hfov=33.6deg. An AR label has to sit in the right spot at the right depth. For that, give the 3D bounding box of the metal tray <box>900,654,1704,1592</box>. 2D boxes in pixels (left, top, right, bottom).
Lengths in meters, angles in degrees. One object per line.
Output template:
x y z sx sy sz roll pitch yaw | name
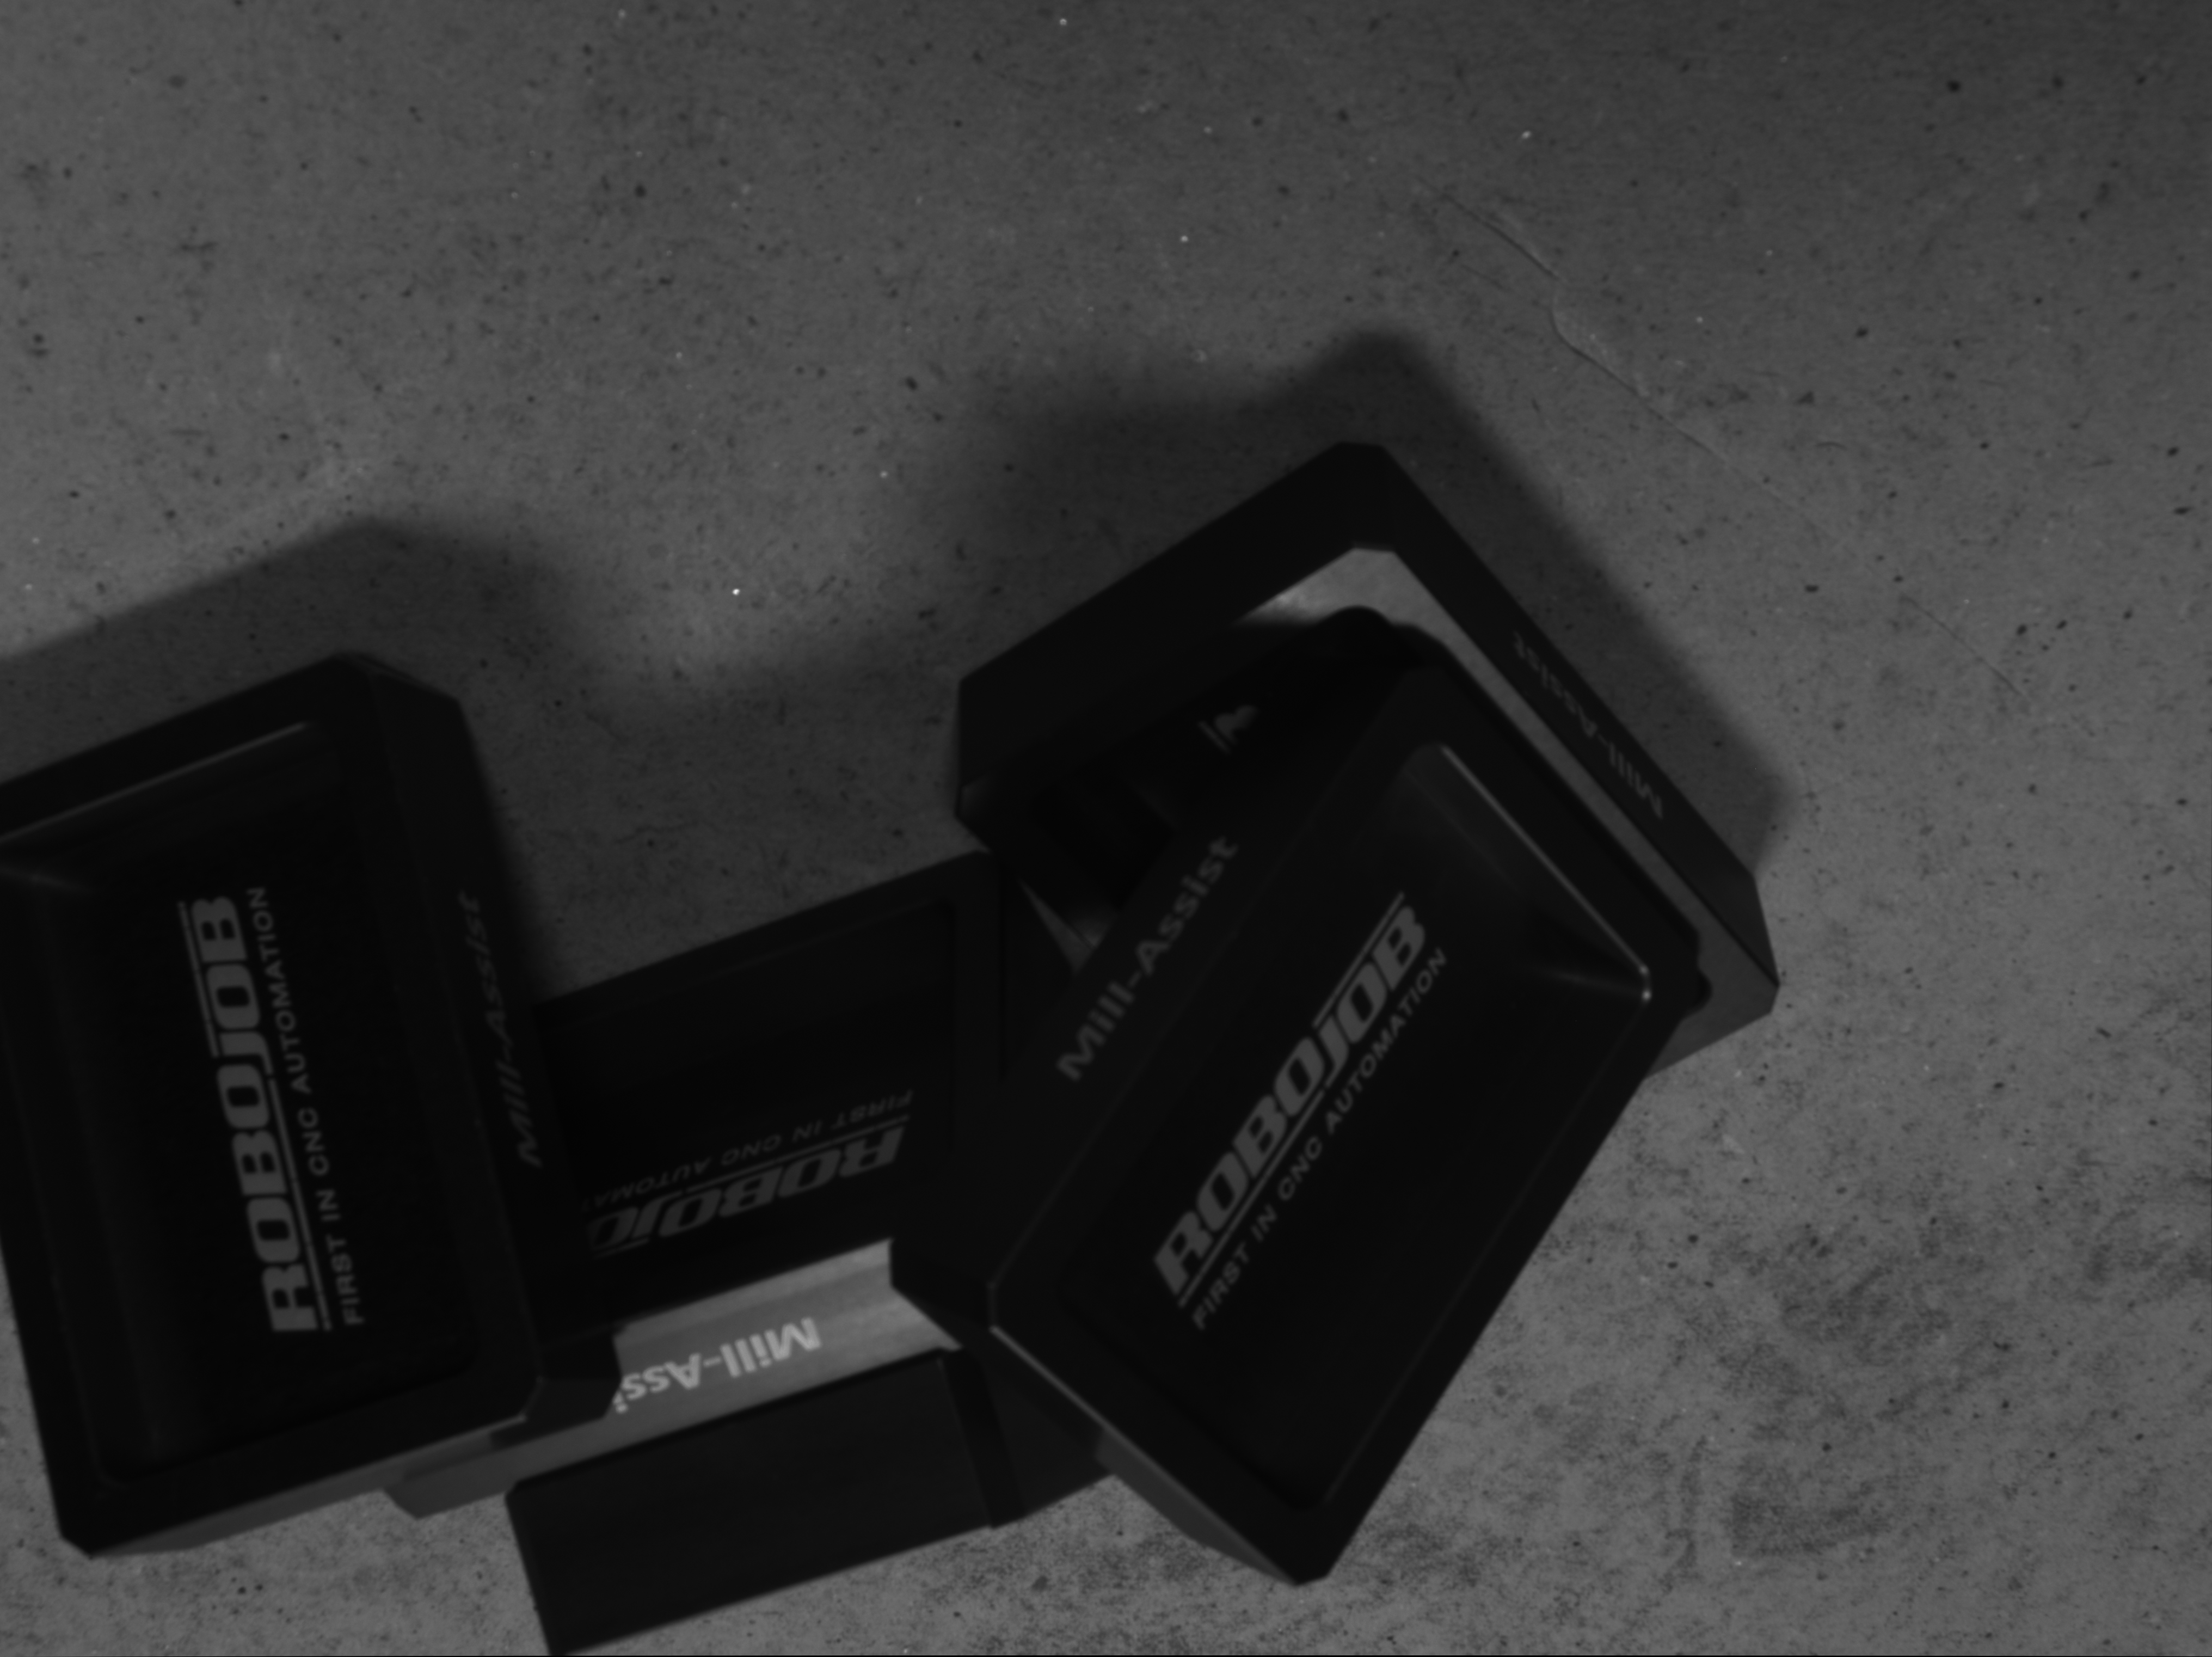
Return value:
0.036 0.048 0.607 0.090 0.030 0.130 45 71 -32 | metal tray

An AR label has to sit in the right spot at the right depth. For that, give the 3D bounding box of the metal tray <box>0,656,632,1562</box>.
-0.139 0.047 0.612 0.090 0.130 0.030 -19 167 14 | metal tray

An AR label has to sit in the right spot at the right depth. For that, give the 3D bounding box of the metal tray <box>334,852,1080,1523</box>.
-0.069 0.062 0.646 0.130 0.090 0.030 -20 128 14 | metal tray

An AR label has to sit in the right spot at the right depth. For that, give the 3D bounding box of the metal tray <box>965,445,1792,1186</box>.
0.048 0.004 0.640 0.090 0.030 0.130 -31 124 22 | metal tray

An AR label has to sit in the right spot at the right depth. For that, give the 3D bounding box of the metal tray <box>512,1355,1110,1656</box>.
-0.041 0.118 0.679 0.090 0.030 0.130 -19 173 14 | metal tray
